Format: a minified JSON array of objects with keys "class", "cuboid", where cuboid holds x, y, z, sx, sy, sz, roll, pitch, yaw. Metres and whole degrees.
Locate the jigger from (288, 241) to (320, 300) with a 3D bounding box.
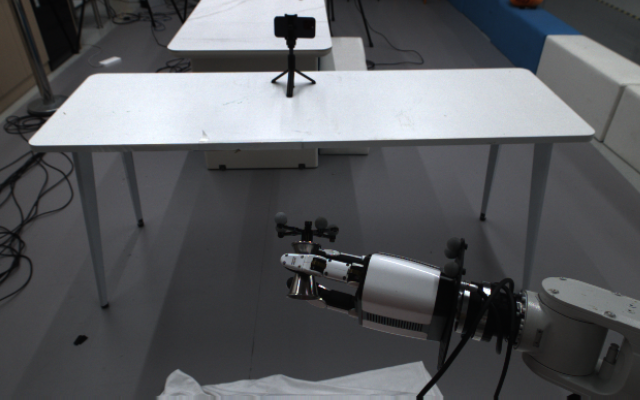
[{"class":"jigger","cuboid":[-0.020,0.089,0.616,0.043,0.043,0.071,3,72,1]}]
